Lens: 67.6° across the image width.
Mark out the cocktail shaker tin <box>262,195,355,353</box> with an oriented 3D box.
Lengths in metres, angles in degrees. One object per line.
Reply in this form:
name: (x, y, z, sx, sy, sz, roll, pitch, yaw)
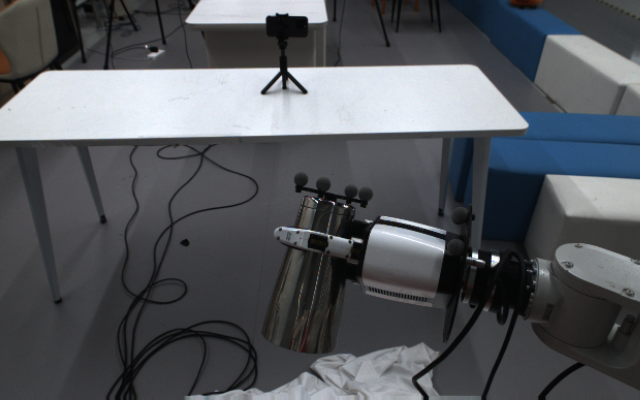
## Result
cocktail shaker tin: (-0.003, 0.083, 0.583, 0.093, 0.170, 0.093, 13, 1, 0)
